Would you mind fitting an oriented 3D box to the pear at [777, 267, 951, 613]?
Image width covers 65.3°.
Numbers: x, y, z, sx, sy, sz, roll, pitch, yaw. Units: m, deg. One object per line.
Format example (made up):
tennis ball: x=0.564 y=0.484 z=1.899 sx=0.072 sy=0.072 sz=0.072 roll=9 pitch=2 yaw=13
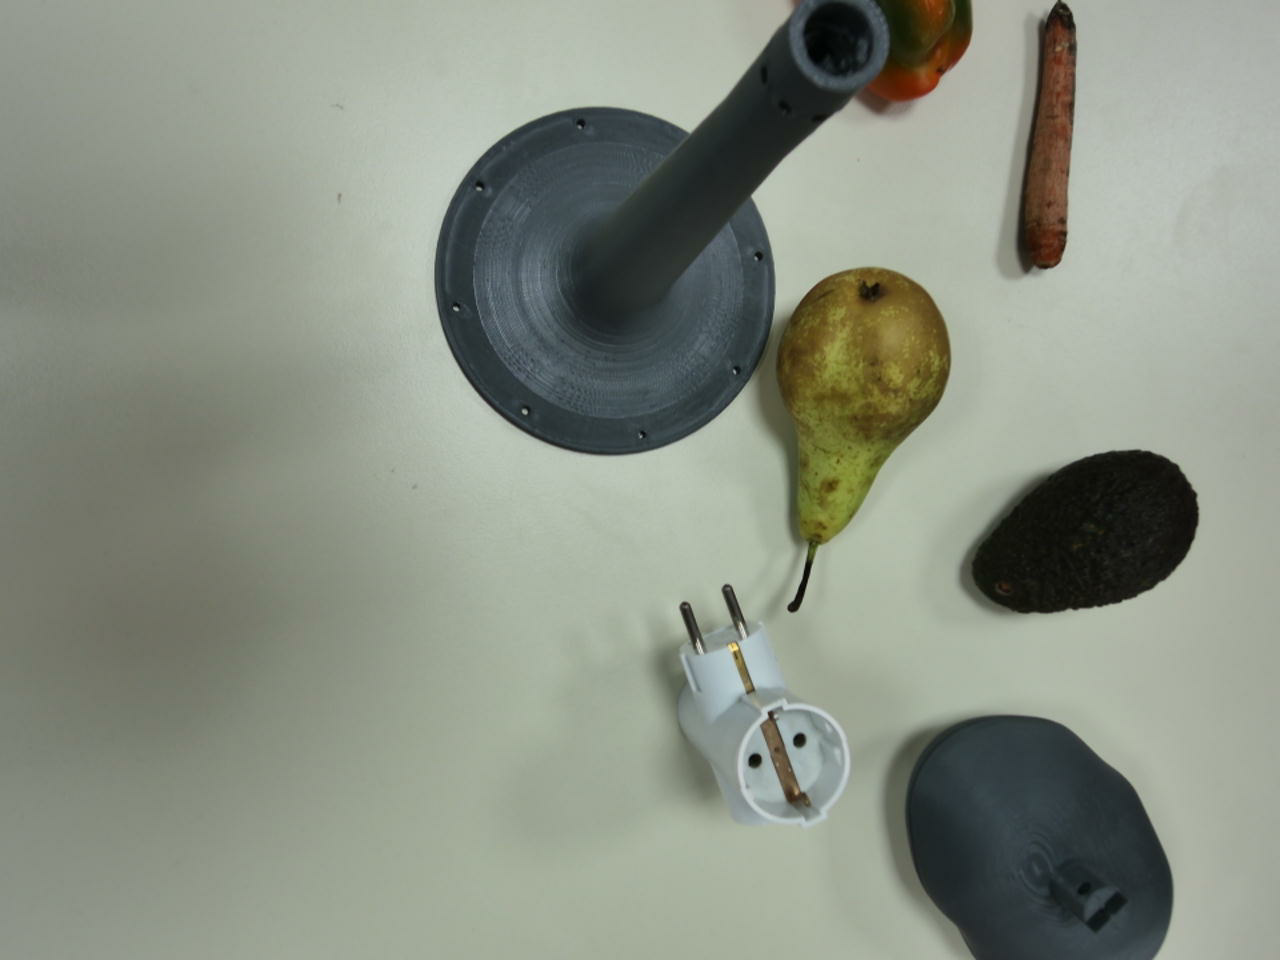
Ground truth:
pear: x=0.096 y=-0.017 z=0.425 sx=0.071 sy=0.075 sz=0.144 roll=-3 pitch=91 yaw=-12
